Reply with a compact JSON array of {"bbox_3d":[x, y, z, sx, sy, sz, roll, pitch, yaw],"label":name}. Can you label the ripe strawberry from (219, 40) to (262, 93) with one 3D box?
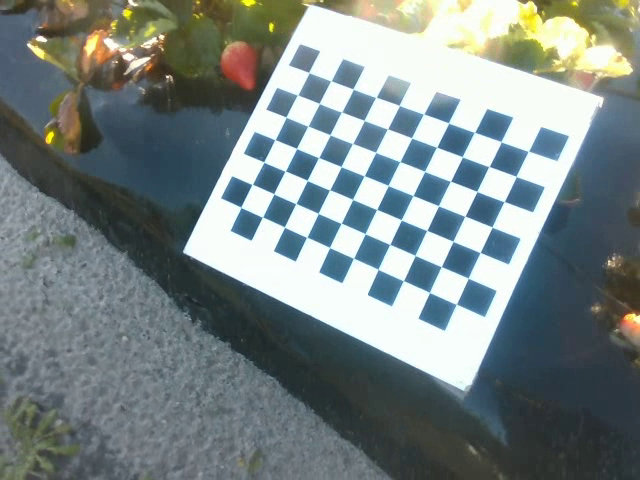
[{"bbox_3d":[-0.090,-0.189,0.731,0.040,0.065,0.040,-25,-17,6],"label":"ripe strawberry"}]
